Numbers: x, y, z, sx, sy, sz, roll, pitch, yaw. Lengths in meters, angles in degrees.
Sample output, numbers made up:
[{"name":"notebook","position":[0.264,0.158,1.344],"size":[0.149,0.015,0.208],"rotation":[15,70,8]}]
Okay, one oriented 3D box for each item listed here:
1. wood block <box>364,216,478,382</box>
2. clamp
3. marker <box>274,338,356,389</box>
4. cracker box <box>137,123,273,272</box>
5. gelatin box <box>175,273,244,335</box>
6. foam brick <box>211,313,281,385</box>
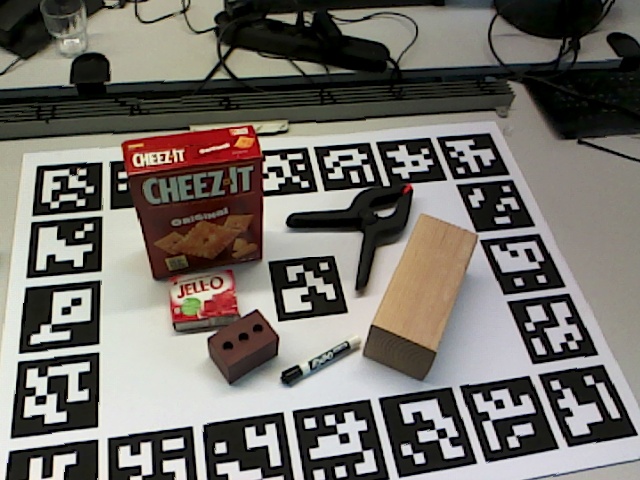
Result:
[{"name":"wood block","position":[0.142,0.077,0.866],"size":[0.090,0.091,0.206],"rotation":[21,53,12]},{"name":"clamp","position":[0.074,-0.027,0.962],"size":[0.202,0.036,0.166],"rotation":[-35,65,-25]},{"name":"marker","position":[-0.006,0.166,0.826],"size":[0.120,0.019,0.020],"rotation":[-24,62,-20]},{"name":"cracker box","position":[-0.152,-0.051,0.844],"size":[0.164,0.213,0.072],"rotation":[-9,55,-14]},{"name":"gelatin box","position":[-0.155,0.088,0.866],"size":[0.089,0.030,0.073],"rotation":[-7,57,-10]},{"name":"foam brick","position":[-0.098,0.143,0.816],"size":[0.078,0.051,0.053],"rotation":[-29,64,-23]}]
